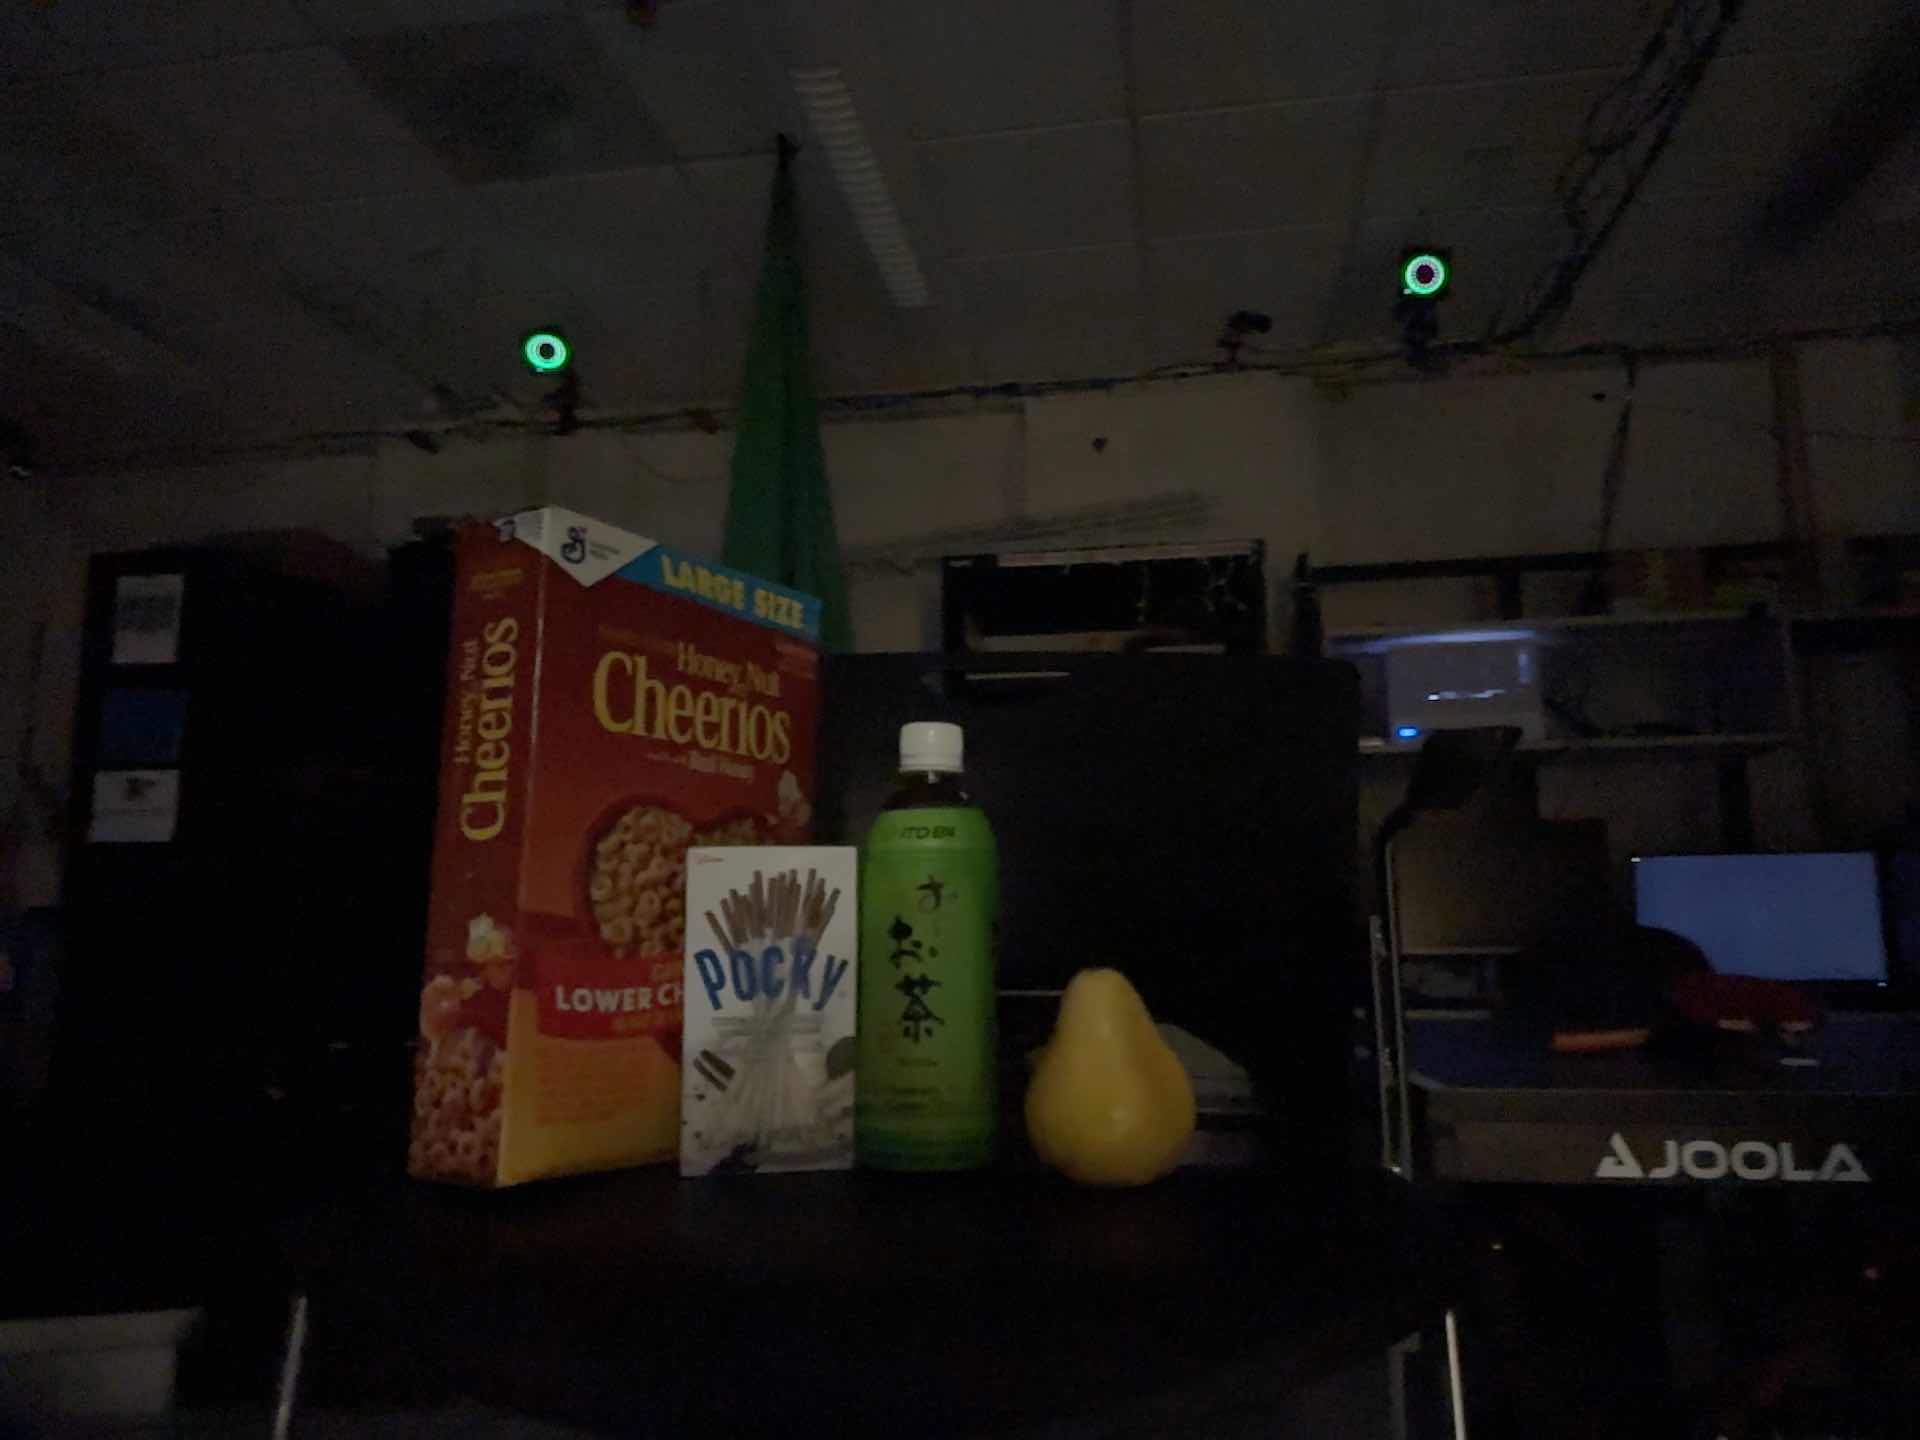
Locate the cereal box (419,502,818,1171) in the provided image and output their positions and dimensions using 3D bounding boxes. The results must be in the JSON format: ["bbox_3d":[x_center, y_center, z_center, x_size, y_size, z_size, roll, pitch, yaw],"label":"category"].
[{"bbox_3d":[-0.165,0.060,0.704,0.065,0.297,0.195,-4,-10,31],"label":"cereal box"}]

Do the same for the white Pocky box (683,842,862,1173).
[{"bbox_3d":[-0.090,0.136,0.649,0.084,0.154,0.028,1,-2,-9],"label":"white Pocky box"}]

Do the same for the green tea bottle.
[{"bbox_3d":[-0.012,0.106,0.660,0.073,0.212,0.073,-3,-8,0],"label":"green tea bottle"}]

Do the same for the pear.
[{"bbox_3d":[0.070,0.152,0.619,0.080,0.111,0.080,-2,-13,0],"label":"pear"}]
